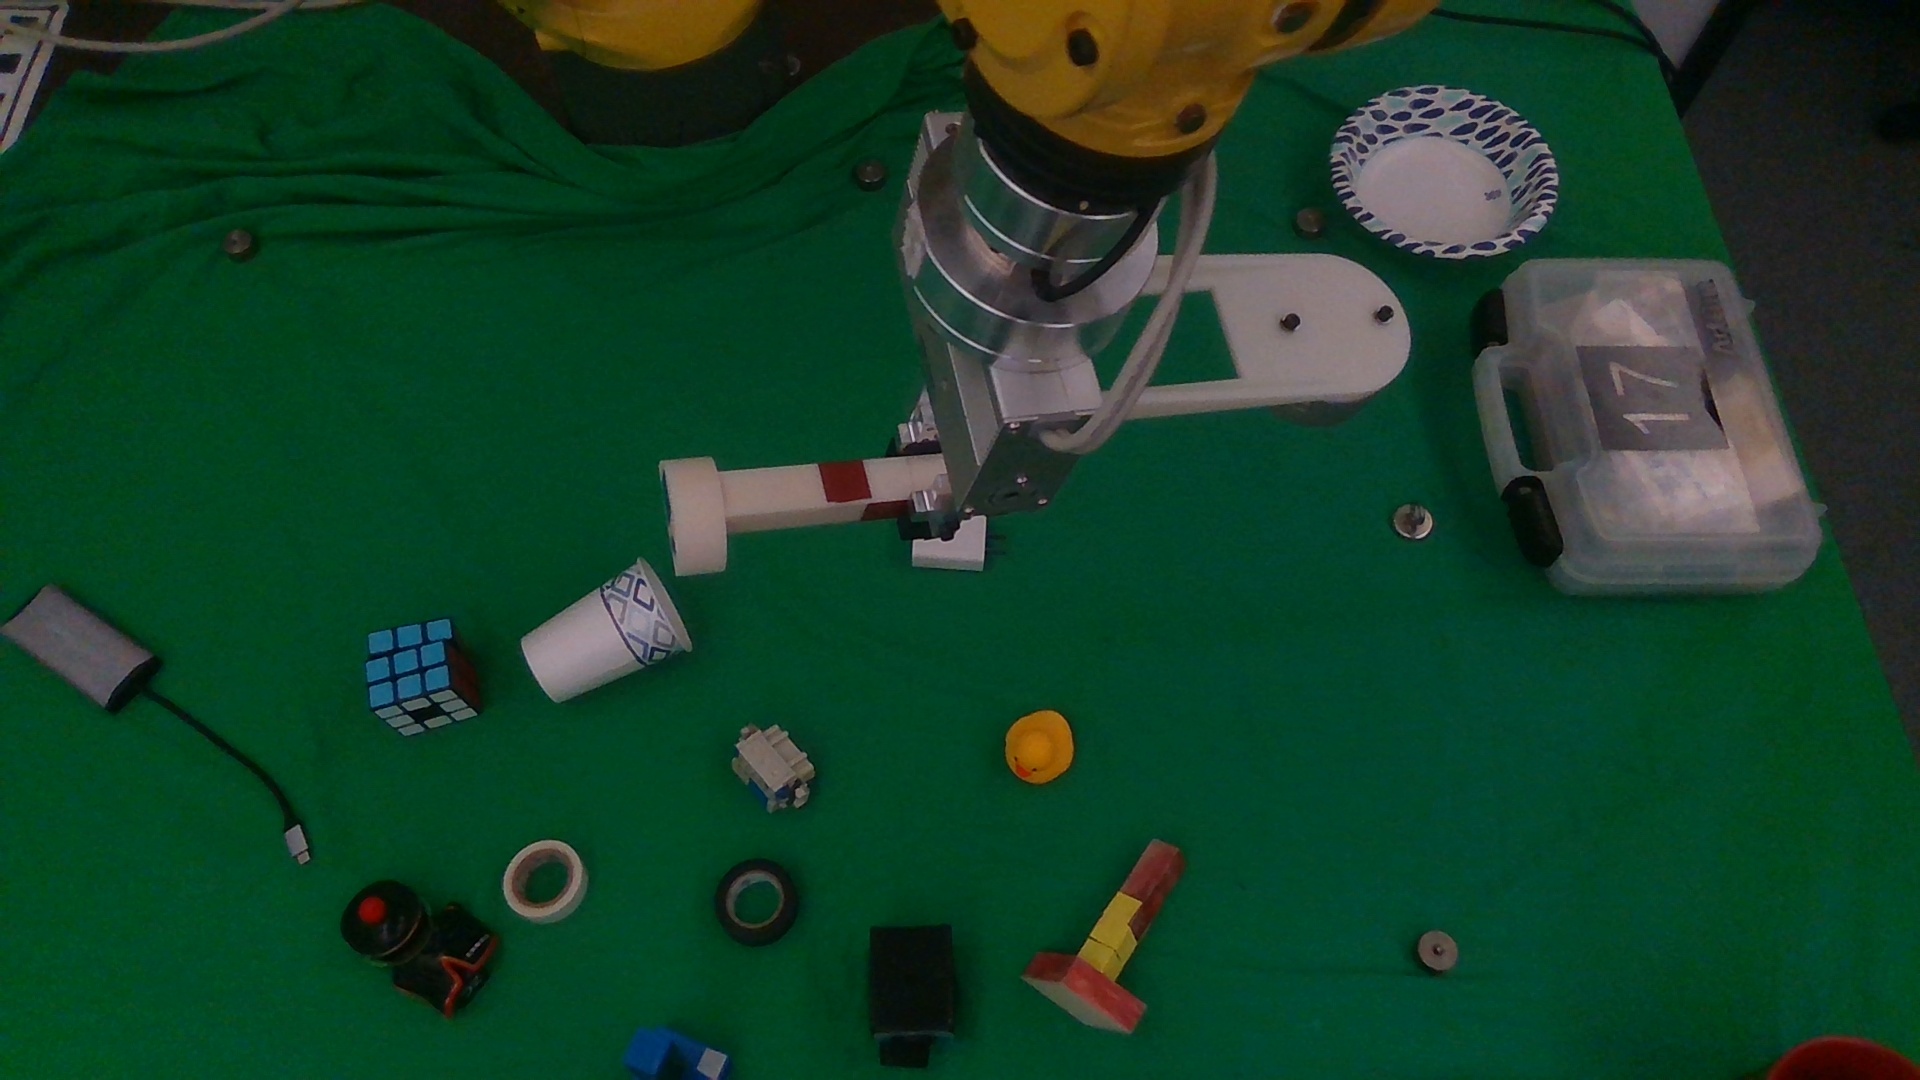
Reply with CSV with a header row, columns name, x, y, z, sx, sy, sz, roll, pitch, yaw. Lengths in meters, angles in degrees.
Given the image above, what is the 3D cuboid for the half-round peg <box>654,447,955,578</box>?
name,x,y,z,sx,sy,sz,roll,pitch,yaw
half-round peg,-0.062,-0.019,0.574,0.122,0.031,0.054,-6,69,-18

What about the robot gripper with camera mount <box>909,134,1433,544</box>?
name,x,y,z,sx,sy,sz,roll,pitch,yaw
robot gripper with camera mount,0.081,-0.068,0.552,0.193,0.159,0.119,-9,69,-19
